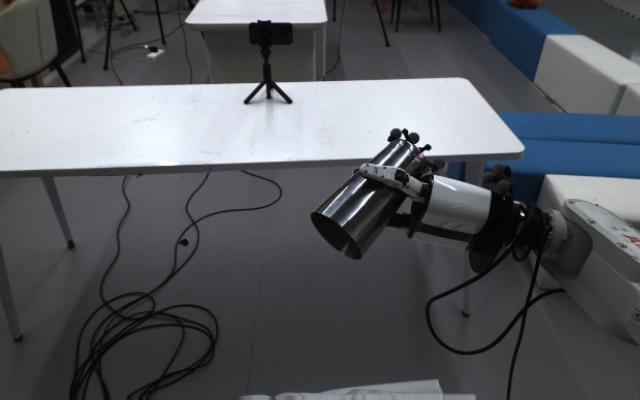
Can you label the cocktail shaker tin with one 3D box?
[{"bbox_3d":[0.077,-0.013,0.686,0.093,0.093,0.170,31,66,35],"label":"cocktail shaker tin"}]
